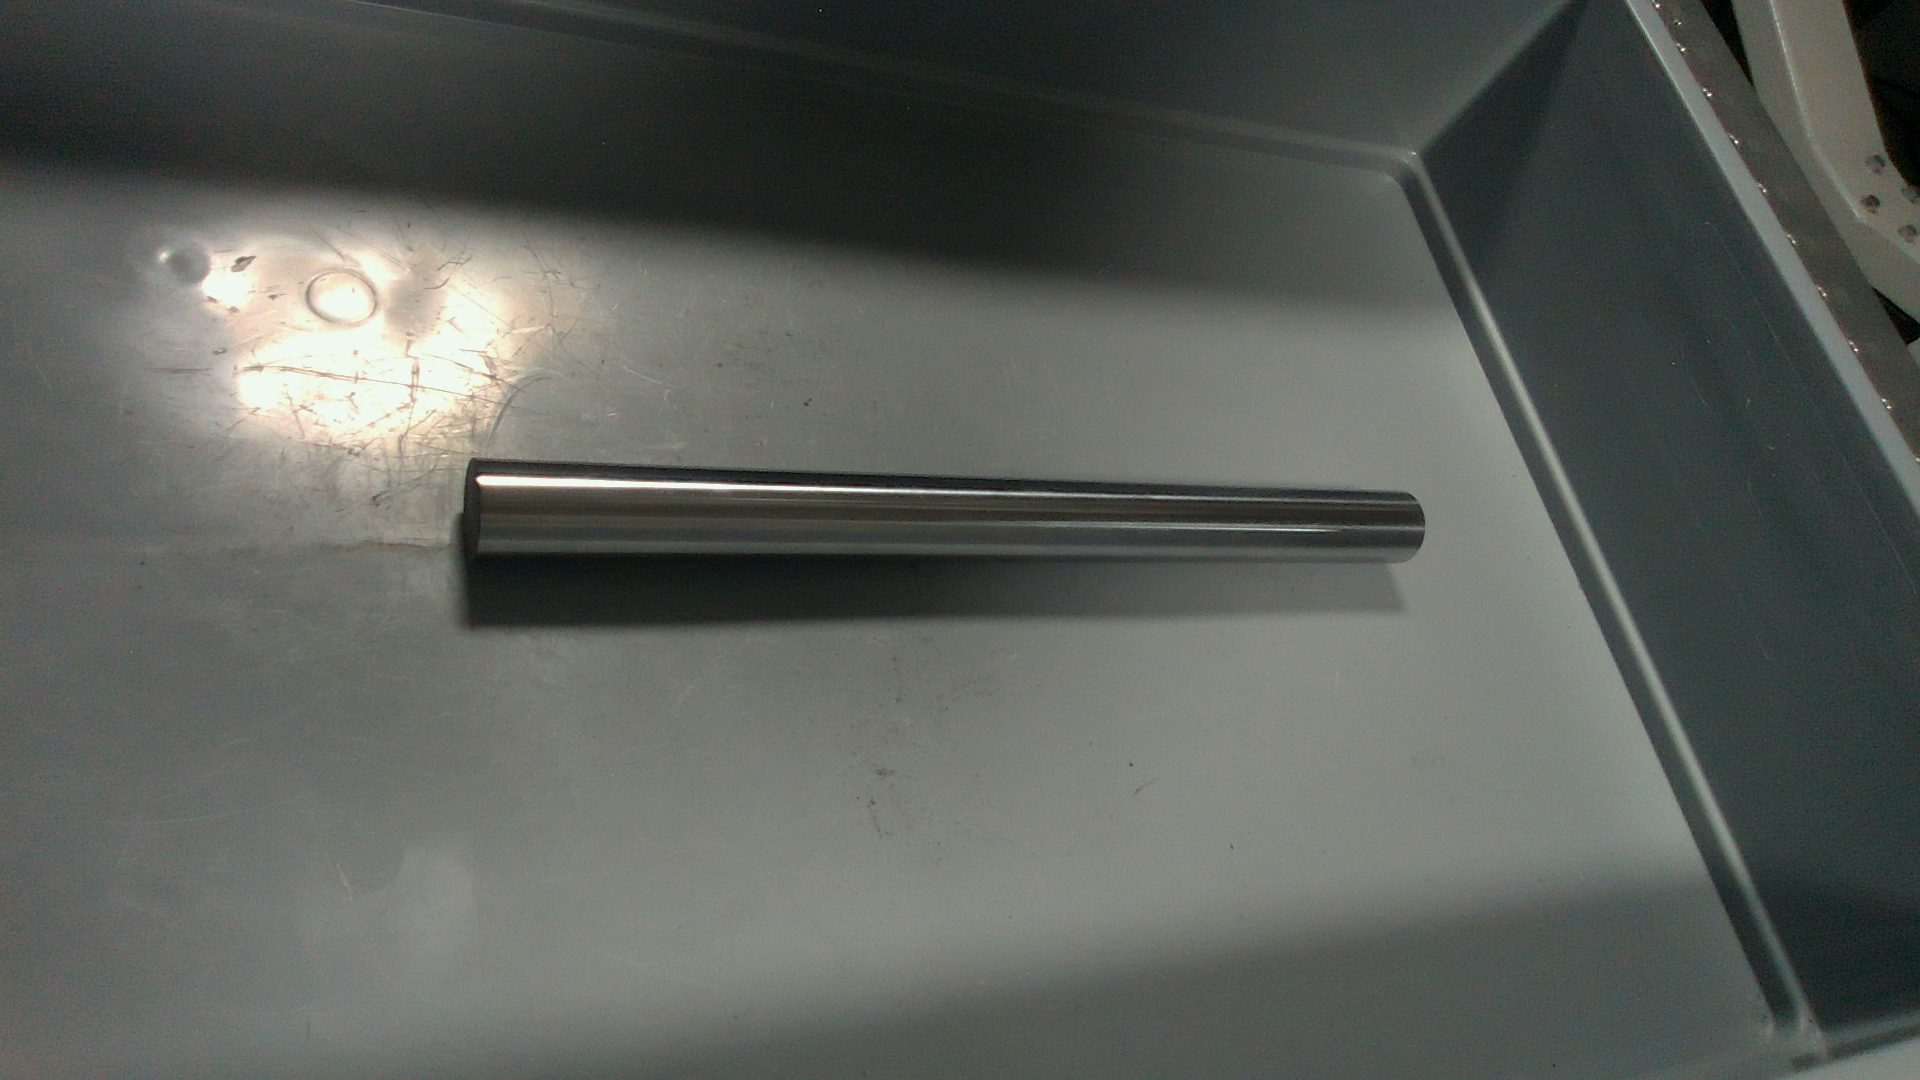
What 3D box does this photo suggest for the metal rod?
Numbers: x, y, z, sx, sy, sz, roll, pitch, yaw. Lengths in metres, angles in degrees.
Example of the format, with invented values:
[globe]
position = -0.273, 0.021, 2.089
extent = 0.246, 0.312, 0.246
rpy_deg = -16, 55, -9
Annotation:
[metal rod]
position = 0.016, -0.006, 0.400
extent = 0.301, 0.025, 0.025
rpy_deg = 0, 61, -28
